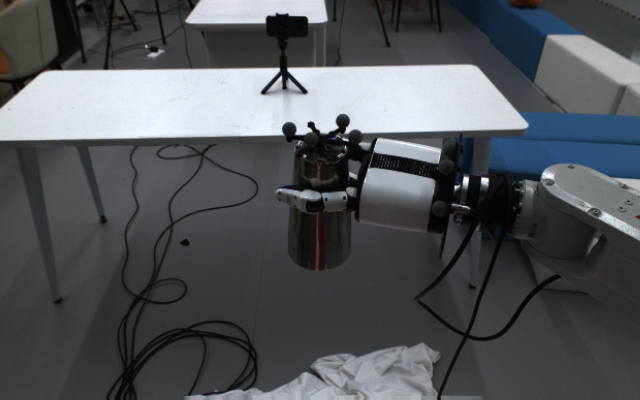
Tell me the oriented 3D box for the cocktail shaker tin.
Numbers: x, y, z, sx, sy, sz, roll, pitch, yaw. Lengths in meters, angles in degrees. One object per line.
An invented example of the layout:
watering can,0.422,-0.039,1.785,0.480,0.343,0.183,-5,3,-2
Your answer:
cocktail shaker tin,0.004,-0.002,0.644,0.093,0.170,0.093,1,39,-1
